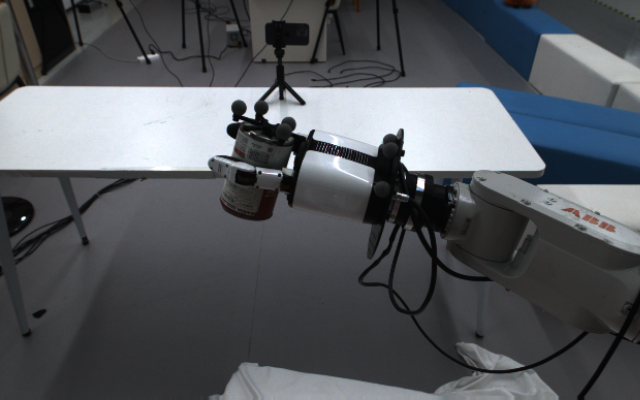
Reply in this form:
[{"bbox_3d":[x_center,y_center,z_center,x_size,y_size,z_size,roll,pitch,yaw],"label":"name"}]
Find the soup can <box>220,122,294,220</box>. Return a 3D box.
[{"bbox_3d":[-0.075,-0.034,0.580,0.067,0.101,0.067,17,21,-7],"label":"soup can"}]
